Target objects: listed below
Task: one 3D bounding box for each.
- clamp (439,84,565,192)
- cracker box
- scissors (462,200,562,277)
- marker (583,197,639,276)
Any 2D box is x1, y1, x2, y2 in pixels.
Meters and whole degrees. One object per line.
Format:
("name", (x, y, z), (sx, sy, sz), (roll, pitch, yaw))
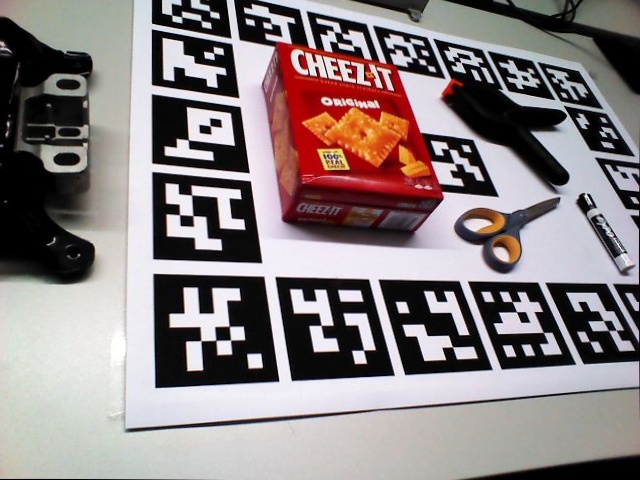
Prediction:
("clamp", (0.270, -0.170, 0.766), (0.203, 0.037, 0.164), (28, 49, -3))
("cracker box", (0.033, -0.115, 0.587), (0.164, 0.072, 0.212), (5, 55, -20))
("scissors", (0.254, -0.020, 0.646), (0.201, 0.016, 0.087), (-25, 68, -37))
("marker", (0.388, -0.008, 0.693), (0.019, 0.020, 0.120), (0, 56, -23))
